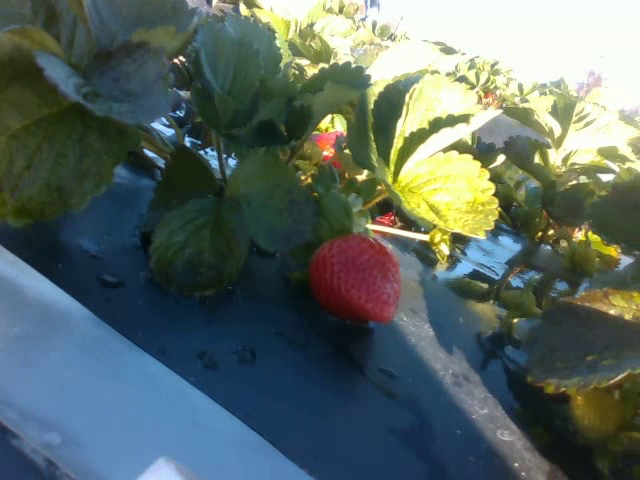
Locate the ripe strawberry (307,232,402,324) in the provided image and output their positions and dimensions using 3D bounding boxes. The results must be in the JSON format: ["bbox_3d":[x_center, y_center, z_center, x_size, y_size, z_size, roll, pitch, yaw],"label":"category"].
[{"bbox_3d":[0.018,0.018,0.247,0.045,0.042,0.059,-21,38,-1],"label":"ripe strawberry"}]
